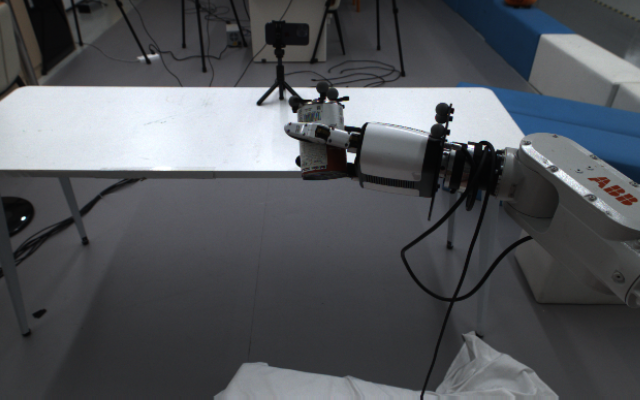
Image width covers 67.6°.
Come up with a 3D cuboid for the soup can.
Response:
[{"bbox_3d":[0.004,-0.082,0.687,0.067,0.101,0.067,-5,-5,0],"label":"soup can"}]
